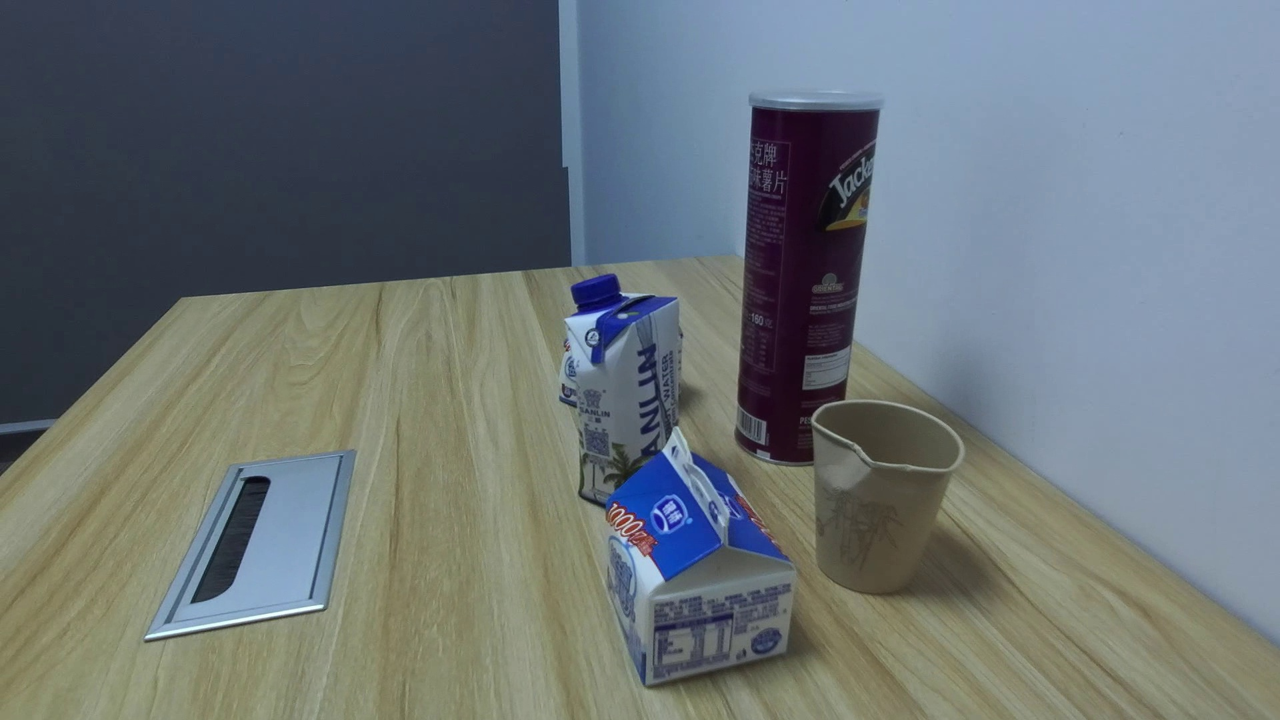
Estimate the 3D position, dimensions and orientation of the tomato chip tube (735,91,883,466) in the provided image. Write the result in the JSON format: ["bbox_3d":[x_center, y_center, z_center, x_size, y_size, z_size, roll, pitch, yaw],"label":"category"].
[{"bbox_3d":[0.105,-0.048,0.464,0.078,0.234,0.078,0,22,0],"label":"tomato chip tube"}]

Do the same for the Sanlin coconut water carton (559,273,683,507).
[{"bbox_3d":[-0.008,0.020,0.429,0.057,0.142,0.078,8,24,33],"label":"Sanlin coconut water carton"}]

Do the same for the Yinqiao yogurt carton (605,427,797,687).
[{"bbox_3d":[0.026,0.088,0.336,0.074,0.092,0.075,-6,26,-15],"label":"Yinqiao yogurt carton"}]
